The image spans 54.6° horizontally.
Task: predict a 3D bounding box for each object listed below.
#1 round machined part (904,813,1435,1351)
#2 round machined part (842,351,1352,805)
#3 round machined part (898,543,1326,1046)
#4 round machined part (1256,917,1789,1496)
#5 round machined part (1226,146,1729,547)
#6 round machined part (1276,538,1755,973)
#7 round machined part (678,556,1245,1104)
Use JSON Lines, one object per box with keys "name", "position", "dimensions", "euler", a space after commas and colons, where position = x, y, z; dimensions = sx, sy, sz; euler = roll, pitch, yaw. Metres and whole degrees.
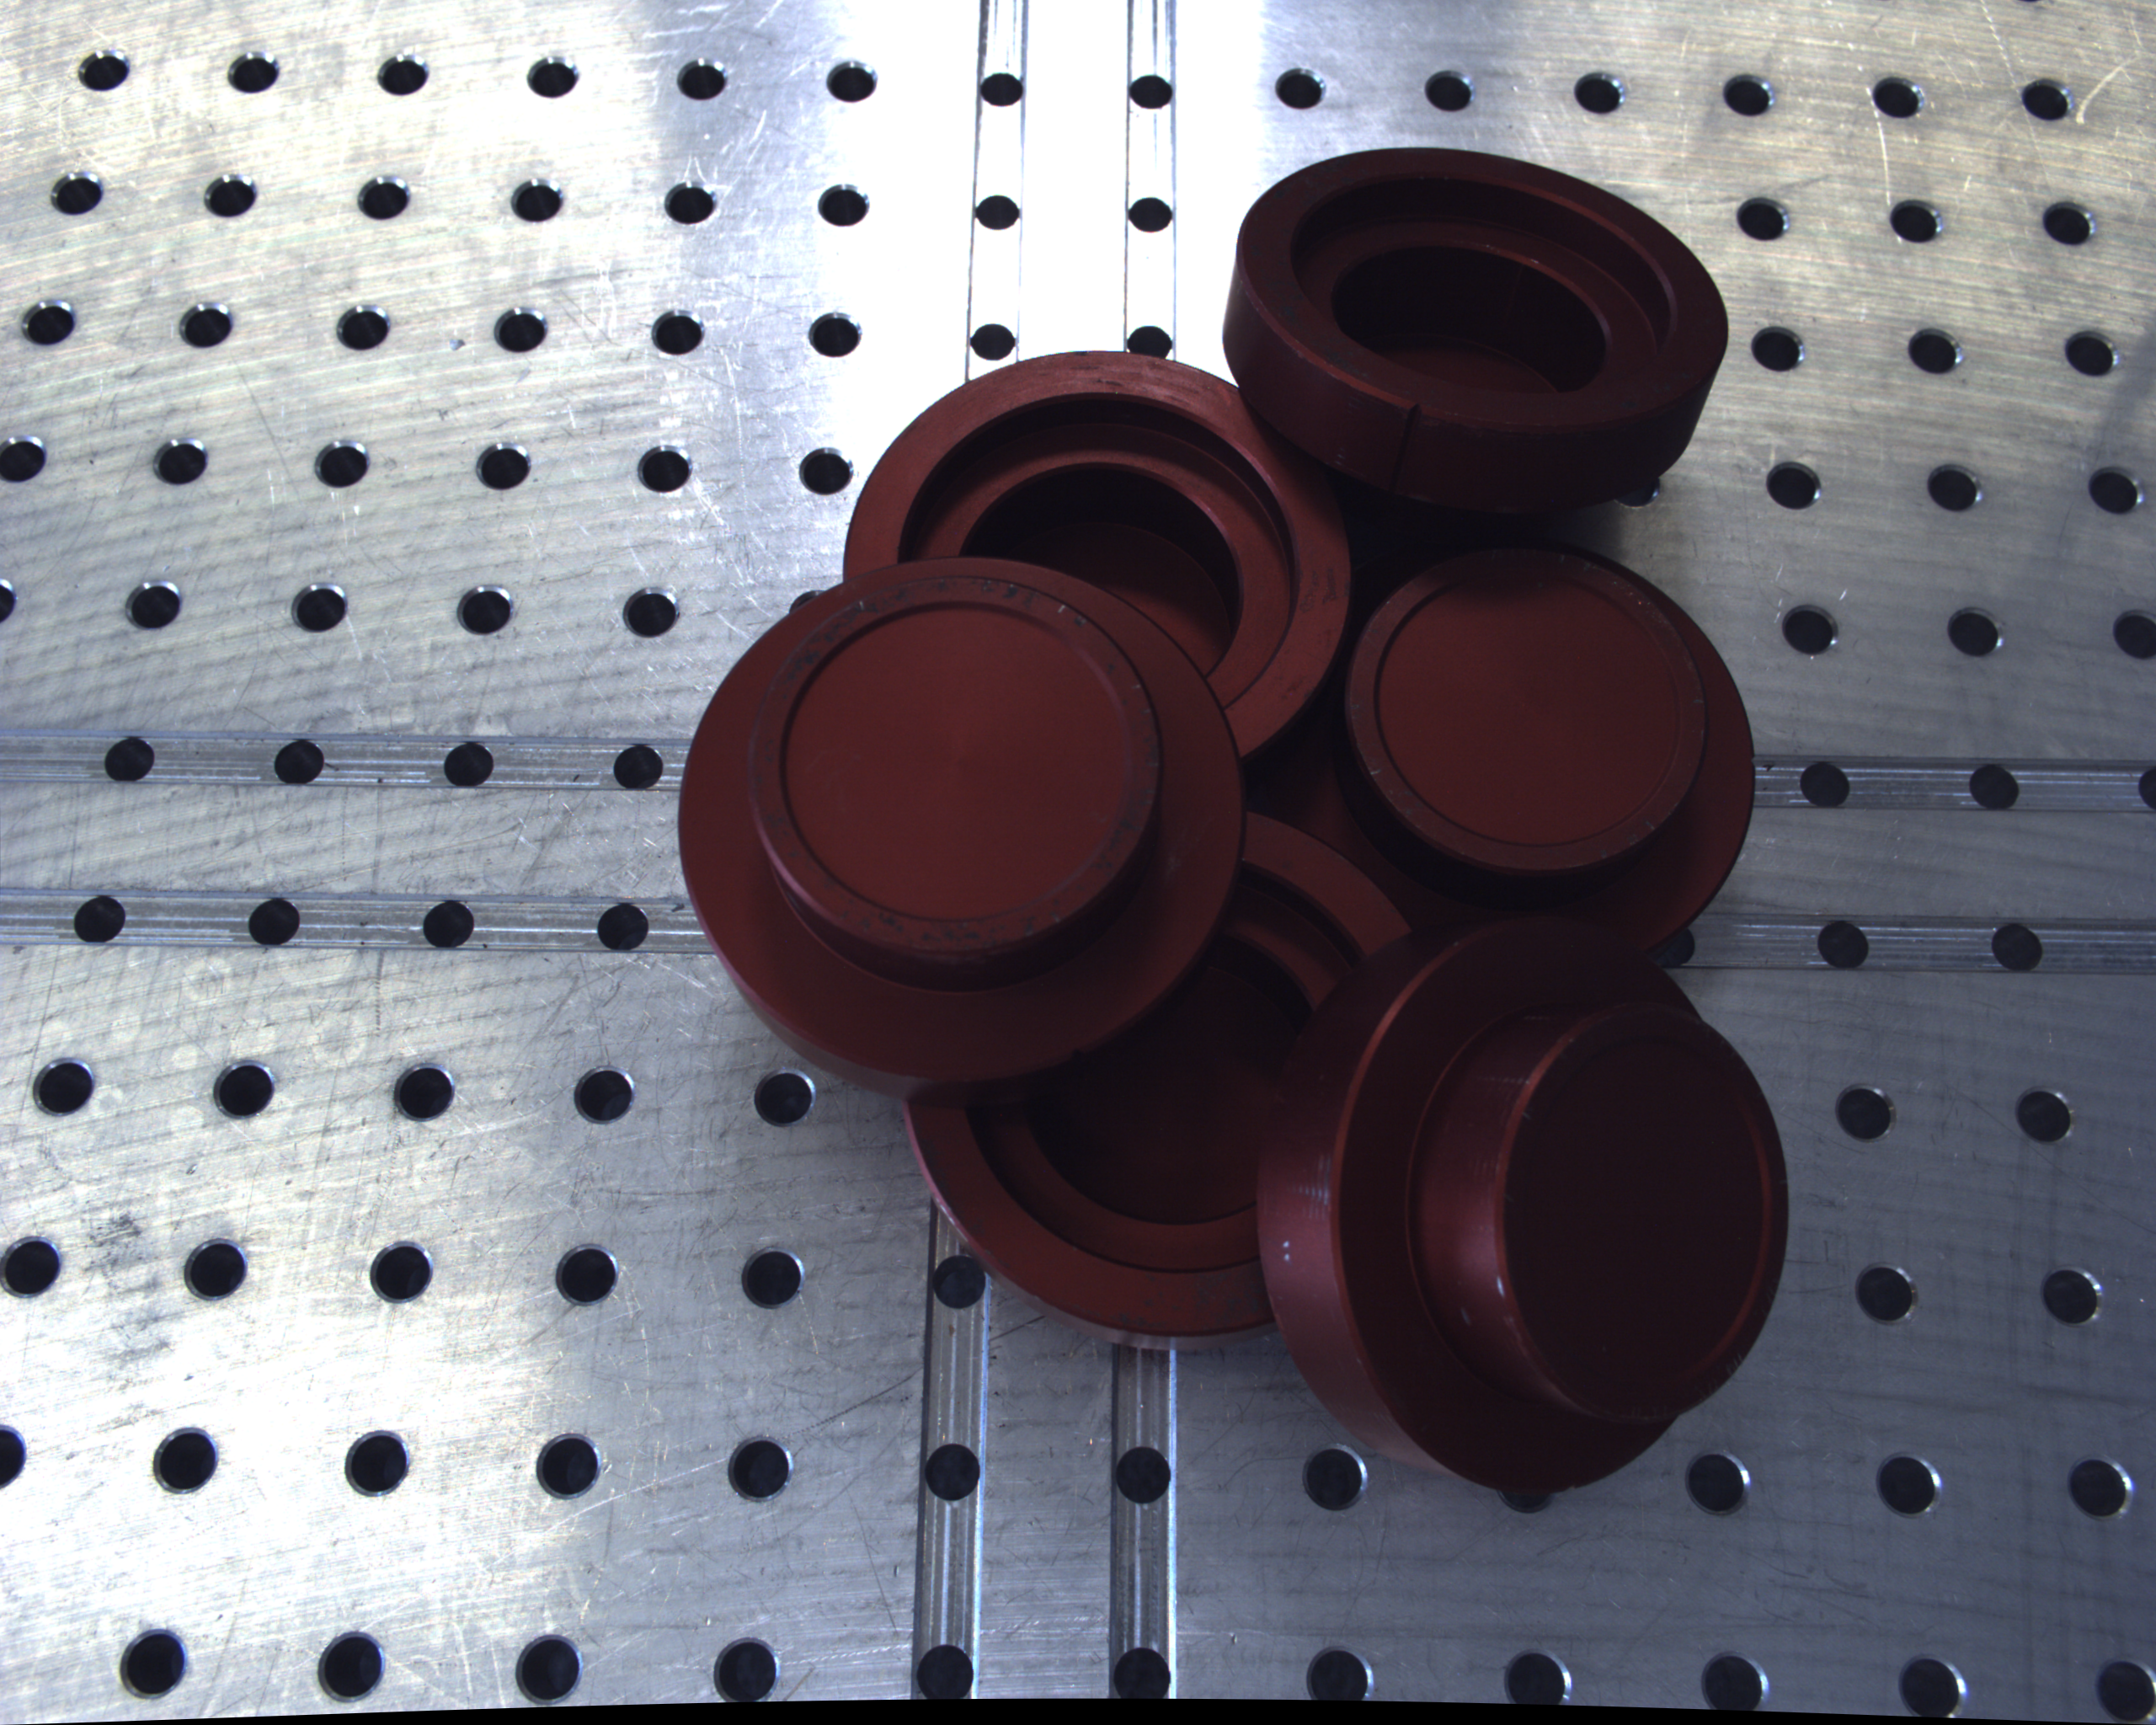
{"name": "round machined part", "position": [0.018, 0.041, 0.388], "dimensions": [0.099, 0.042, 0.098], "euler": [0, 70, 0]}
{"name": "round machined part", "position": [0.004, -0.050, 0.421], "dimensions": [0.099, 0.042, 0.098], "euler": [0, 70, 0]}
{"name": "round machined part", "position": [-0.003, -0.009, 0.406], "dimensions": [0.099, 0.042, 0.098], "euler": [0, 70, 0]}
{"name": "round machined part", "position": [0.082, 0.058, 0.356], "dimensions": [0.099, 0.042, 0.098], "euler": [3, 84, -32]}
{"name": "round machined part", "position": [0.078, -0.102, 0.429], "dimensions": [0.099, 0.042, 0.098], "euler": [4, 49, -5]}
{"name": "round machined part", "position": [0.084, -0.022, 0.411], "dimensions": [0.099, 0.042, 0.098], "euler": [0, 70, 0]}
{"name": "round machined part", "position": [-0.020, -0.010, 0.361], "dimensions": [0.099, 0.042, 0.098], "euler": [0, 70, 0]}
